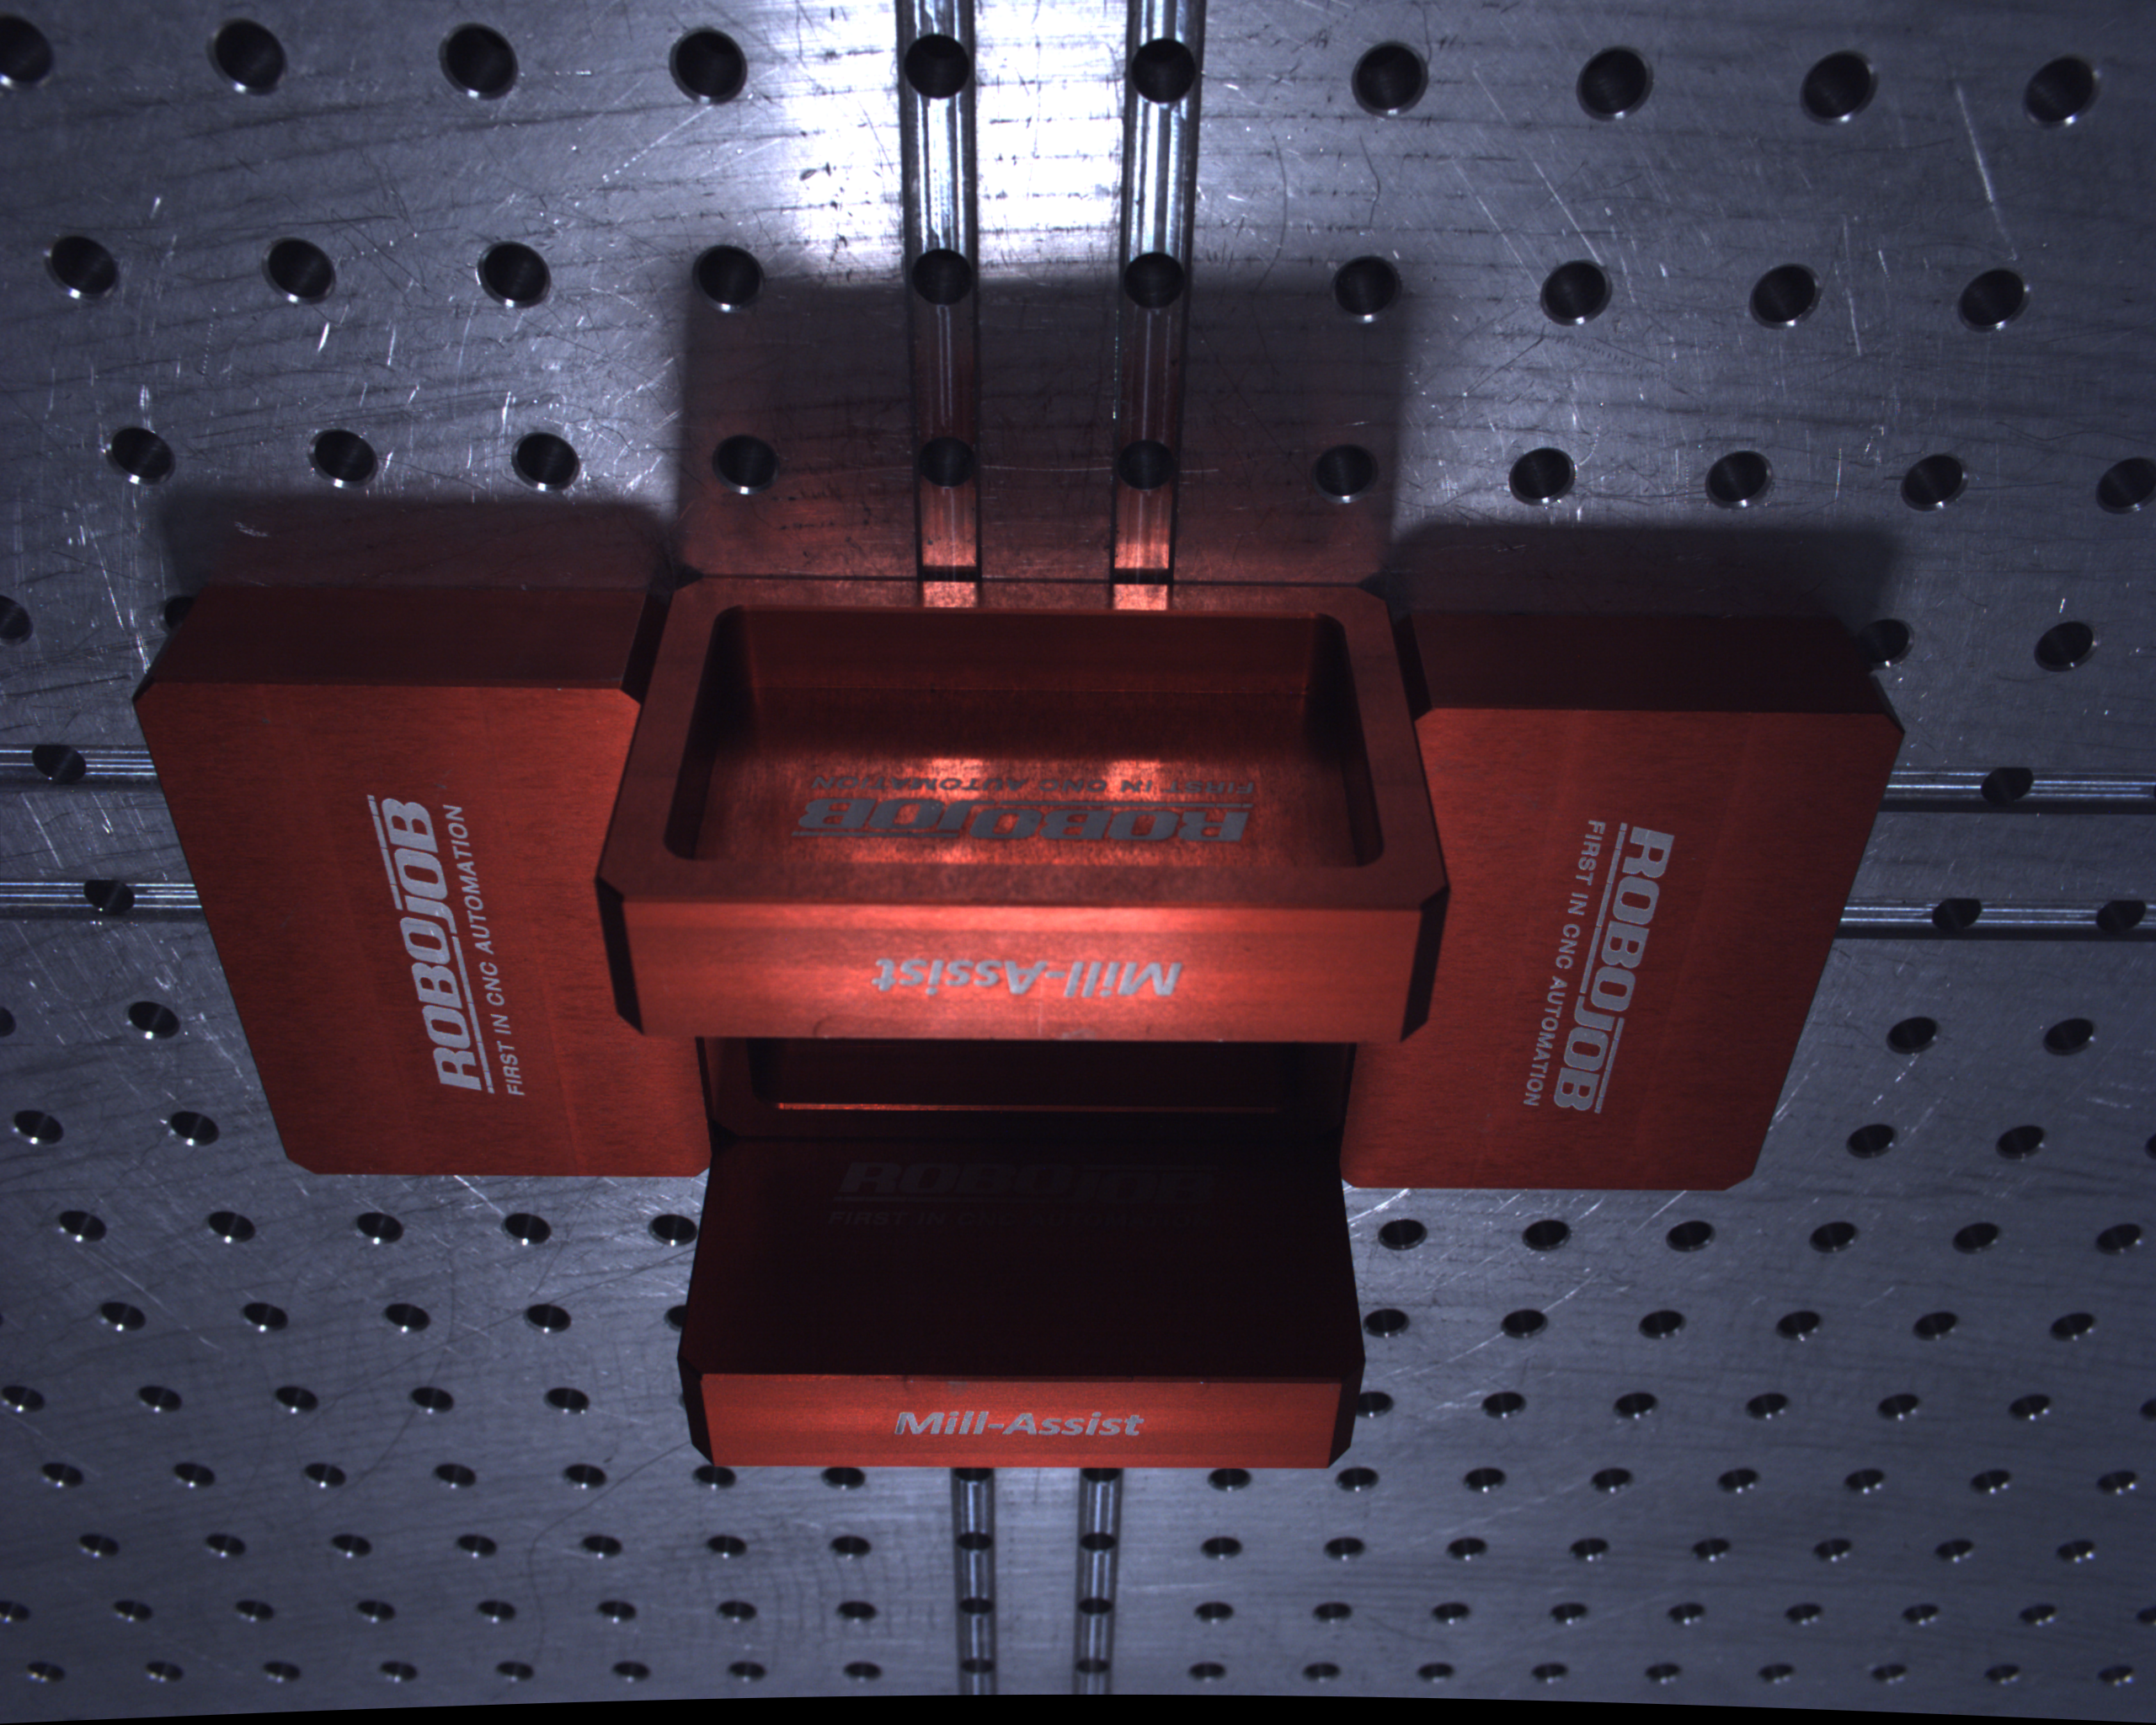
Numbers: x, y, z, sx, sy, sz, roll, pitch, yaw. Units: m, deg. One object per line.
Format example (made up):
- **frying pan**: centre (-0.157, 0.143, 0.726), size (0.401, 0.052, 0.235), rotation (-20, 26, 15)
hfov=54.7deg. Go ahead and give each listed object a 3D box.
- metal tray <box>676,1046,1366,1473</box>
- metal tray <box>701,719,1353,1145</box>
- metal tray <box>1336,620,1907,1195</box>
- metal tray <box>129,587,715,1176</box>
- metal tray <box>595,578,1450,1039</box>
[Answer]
- **metal tray**: centre (-0.011, 0.080, 0.435), size (0.131, 0.090, 0.030), rotation (1, 130, -1)
- **metal tray**: centre (-0.010, 0.016, 0.419), size (0.131, 0.030, 0.089), rotation (0, 130, -1)
- **metal tray**: centre (0.101, 0.013, 0.419), size (0.091, 0.030, 0.129), rotation (0, 130, -2)
- **metal tray**: centre (-0.121, 0.008, 0.413), size (0.091, 0.030, 0.129), rotation (1, 130, -1)
- **metal tray**: centre (-0.009, -0.012, 0.359), size (0.131, 0.090, 0.030), rotation (1, 130, -1)
